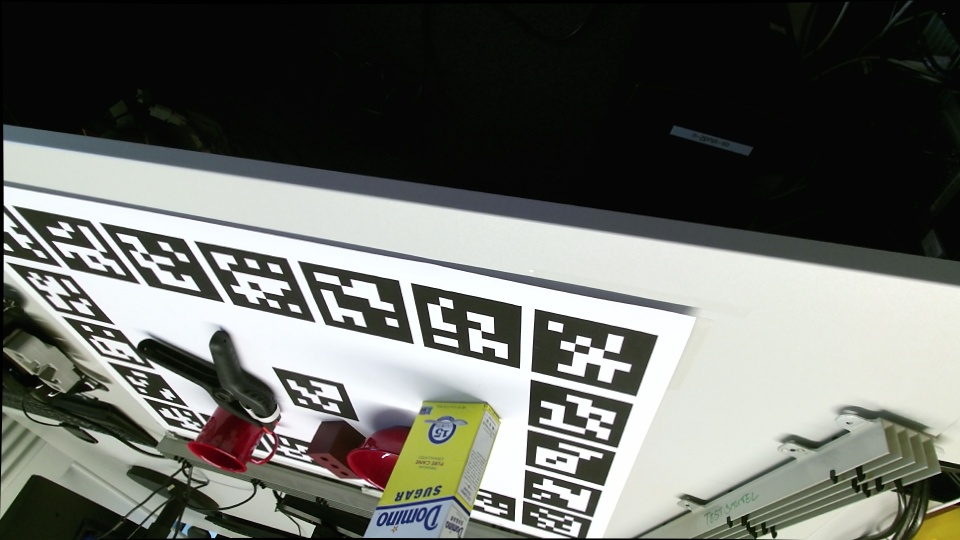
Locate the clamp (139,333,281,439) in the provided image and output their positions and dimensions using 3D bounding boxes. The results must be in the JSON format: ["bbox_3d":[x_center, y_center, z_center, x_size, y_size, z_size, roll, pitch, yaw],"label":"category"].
[{"bbox_3d":[-0.339,0.165,0.727,0.166,0.036,0.203,-9,127,26],"label":"clamp"}]

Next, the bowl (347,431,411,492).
[{"bbox_3d":[-0.094,0.267,0.723,0.162,0.055,0.162,12,136,12],"label":"bowl"}]

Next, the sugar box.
[{"bbox_3d":[-0.042,0.224,0.574,0.093,0.176,0.045,-9,126,30],"label":"sugar box"}]

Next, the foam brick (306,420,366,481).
[{"bbox_3d":[-0.204,0.260,0.772,0.053,0.051,0.078,-12,126,30],"label":"foam brick"}]

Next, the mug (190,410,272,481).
[{"bbox_3d":[-0.373,0.264,0.811,0.117,0.081,0.093,31,136,-4],"label":"mug"}]
